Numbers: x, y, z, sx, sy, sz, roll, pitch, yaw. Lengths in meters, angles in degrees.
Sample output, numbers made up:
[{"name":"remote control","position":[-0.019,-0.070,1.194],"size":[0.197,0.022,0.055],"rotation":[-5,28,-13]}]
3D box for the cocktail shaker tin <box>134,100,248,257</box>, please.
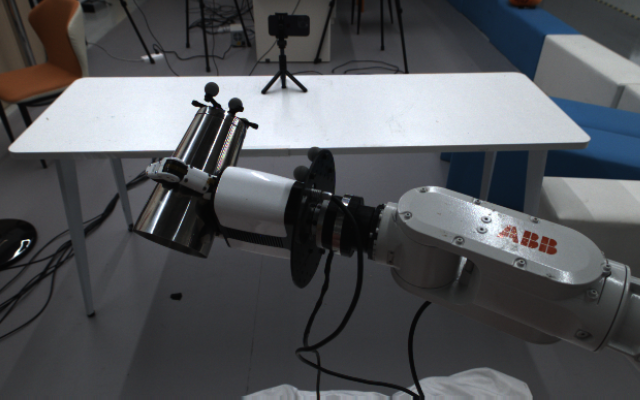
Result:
[{"name":"cocktail shaker tin","position":[-0.149,-0.023,0.591],"size":[0.093,0.093,0.170],"rotation":[14,73,16]}]
